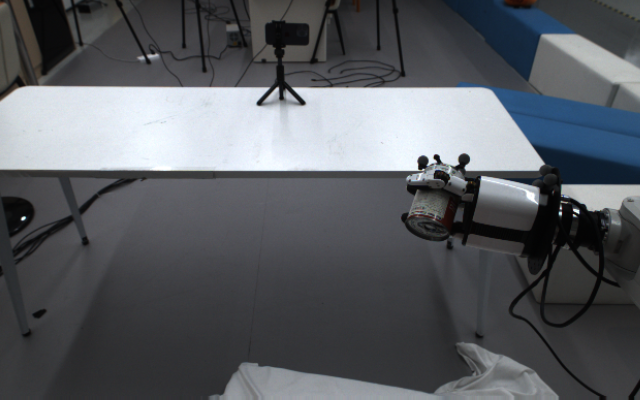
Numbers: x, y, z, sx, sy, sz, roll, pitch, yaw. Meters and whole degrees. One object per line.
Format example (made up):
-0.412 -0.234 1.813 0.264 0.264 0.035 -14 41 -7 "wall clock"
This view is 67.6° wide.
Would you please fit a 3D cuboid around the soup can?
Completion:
0.177 0.000 0.740 0.067 0.067 0.101 15 63 18 "soup can"
